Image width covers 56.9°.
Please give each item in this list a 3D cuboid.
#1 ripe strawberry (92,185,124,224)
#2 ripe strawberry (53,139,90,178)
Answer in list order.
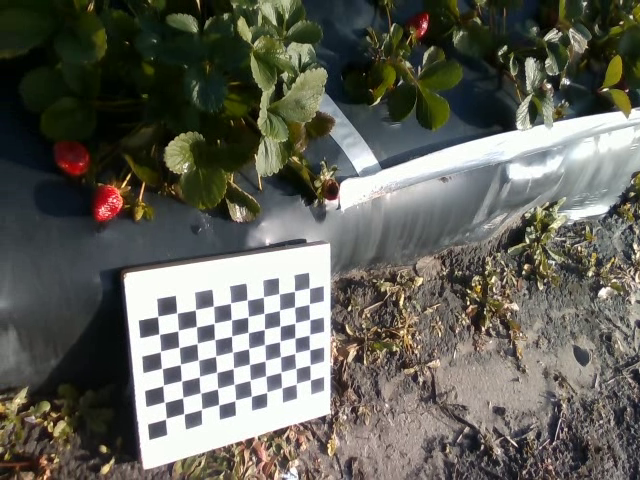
[{"bbox_3d":[-0.265,-0.044,0.731,0.038,0.053,0.043,-27,-55,32],"label":"ripe strawberry"},{"bbox_3d":[-0.307,-0.100,0.737,0.039,0.048,0.054,15,3,35],"label":"ripe strawberry"}]
